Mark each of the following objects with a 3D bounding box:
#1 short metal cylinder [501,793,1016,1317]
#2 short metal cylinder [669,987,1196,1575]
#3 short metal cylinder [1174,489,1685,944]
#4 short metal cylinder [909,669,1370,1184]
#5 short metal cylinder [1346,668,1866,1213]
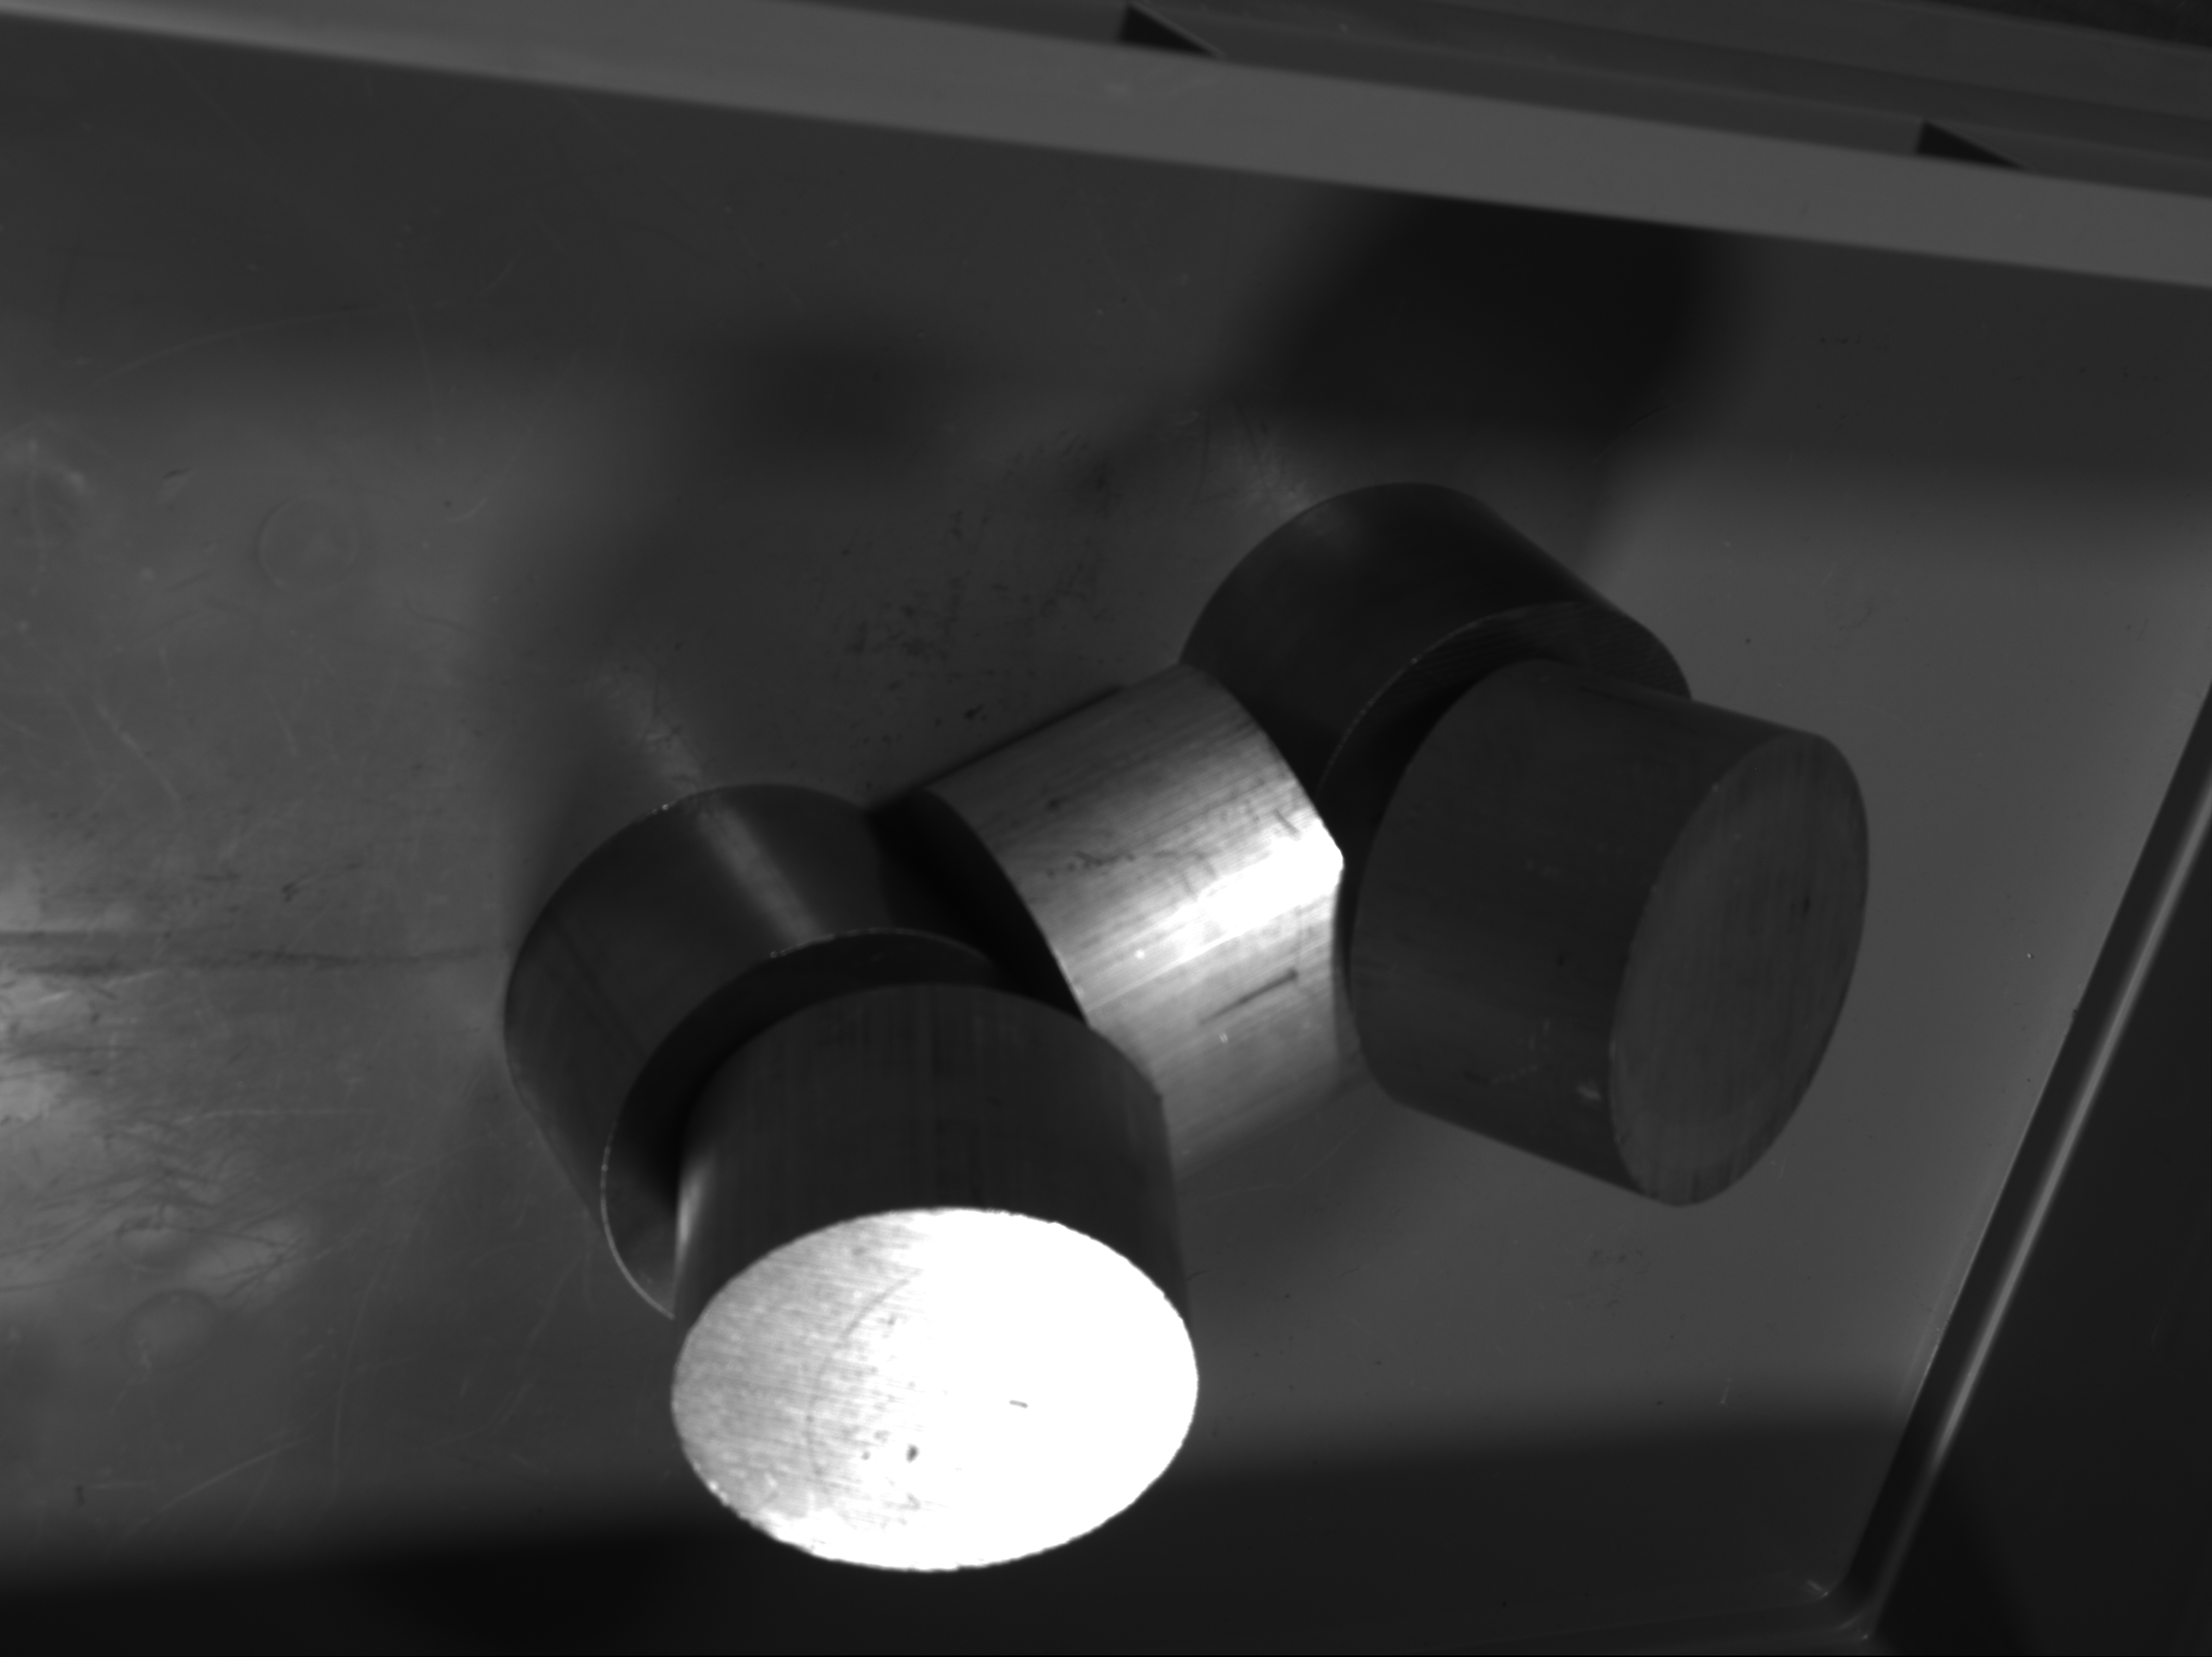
[{"bbox_3d":[-0.057,0.041,0.625,0.080,0.050,0.080,-15,125,-22],"label":"short metal cylinder"},{"bbox_3d":[-0.028,0.072,0.577,0.080,0.050,0.080,-3,128,-3],"label":"short metal cylinder"},{"bbox_3d":[0.057,-0.014,0.658,0.080,0.050,0.080,-15,125,-22],"label":"short metal cylinder"},{"bbox_3d":[0.007,0.019,0.629,0.050,0.080,0.080,-27,128,-14],"label":"short metal cylinder"},{"bbox_3d":[0.084,0.018,0.608,0.080,0.050,0.080,-25,124,-45],"label":"short metal cylinder"}]
